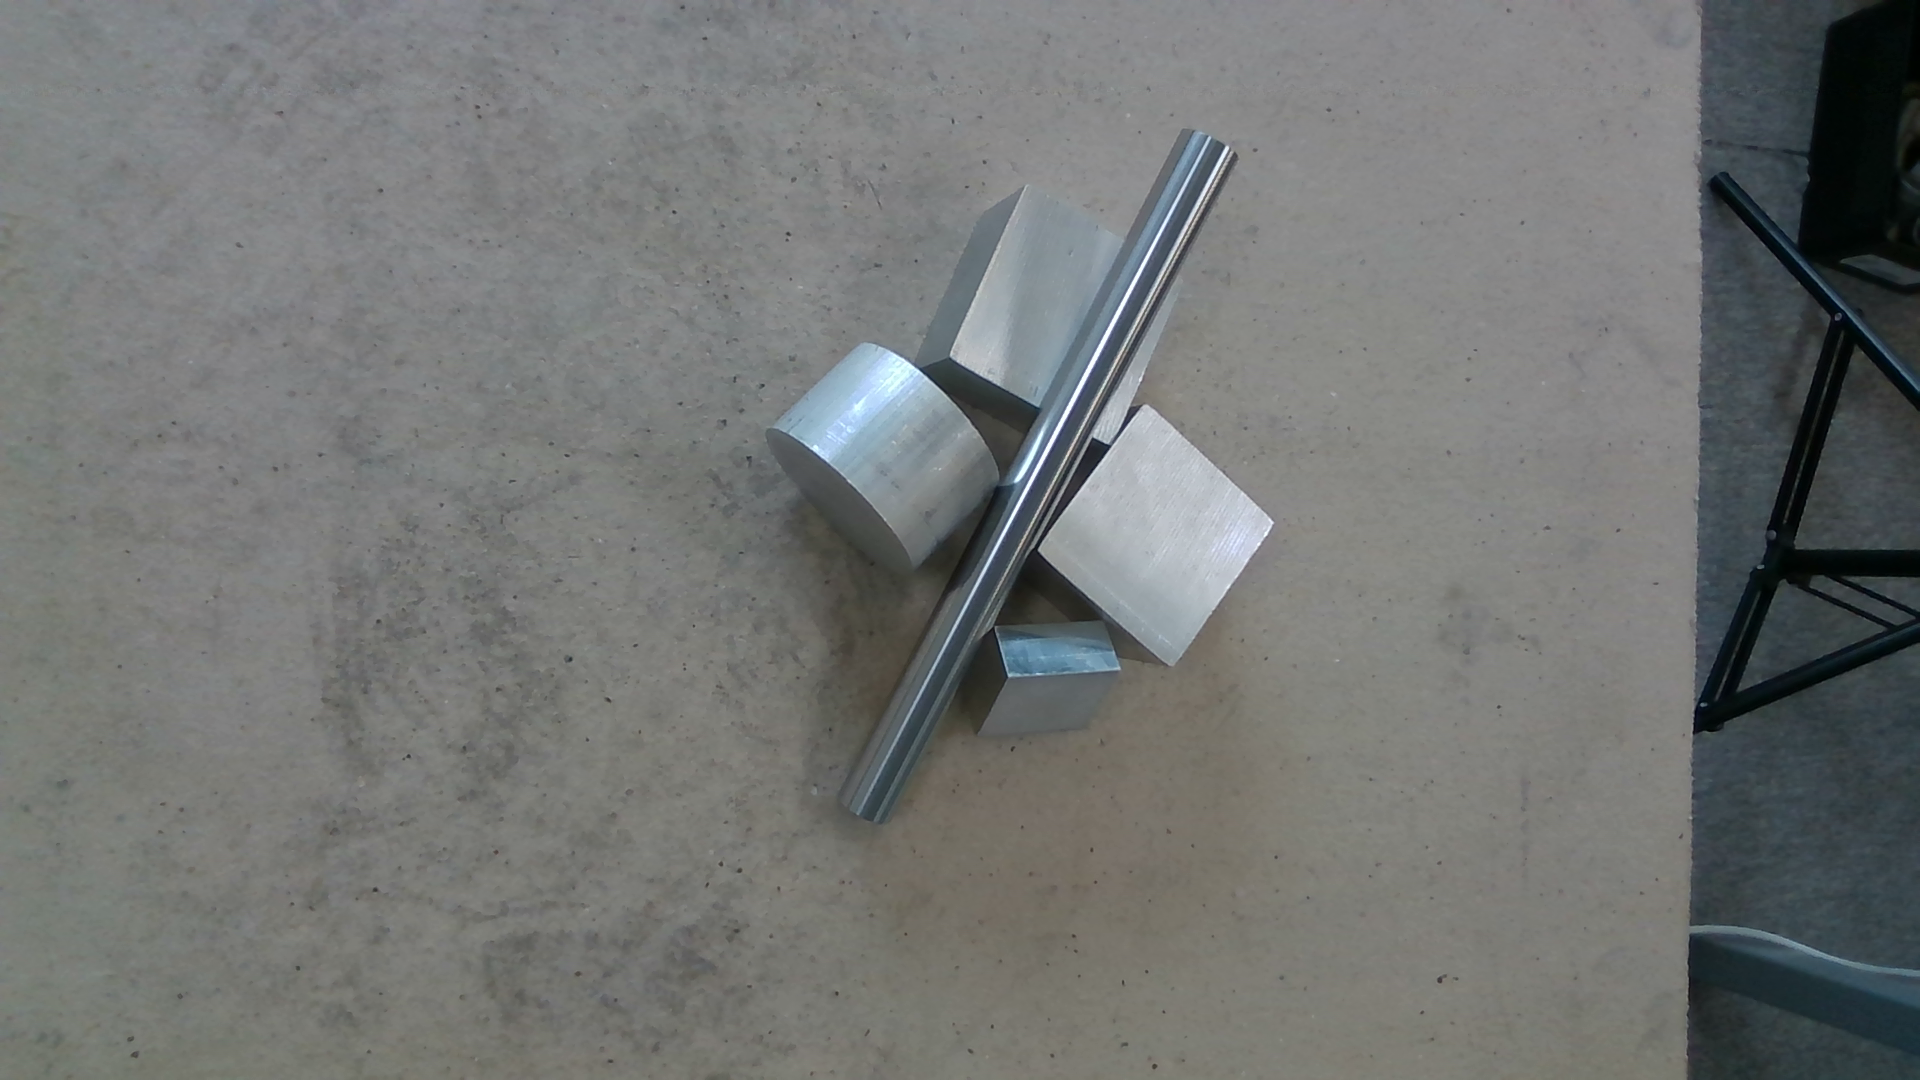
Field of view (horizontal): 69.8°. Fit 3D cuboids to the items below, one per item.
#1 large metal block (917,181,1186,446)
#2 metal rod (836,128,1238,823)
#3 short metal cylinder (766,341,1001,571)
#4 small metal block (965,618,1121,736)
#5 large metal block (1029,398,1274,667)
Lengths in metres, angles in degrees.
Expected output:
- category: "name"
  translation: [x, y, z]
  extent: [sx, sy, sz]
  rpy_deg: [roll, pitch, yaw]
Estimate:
- category: "large metal block"
  translation: [0.037, -0.092, 0.586]
  extent: [0.080, 0.050, 0.080]
  rpy_deg: [26, 81, -18]
- category: "metal rod"
  translation: [0.028, -0.021, 0.553]
  extent: [0.025, 0.025, 0.300]
  rpy_deg: [25, 98, -19]
- category: "short metal cylinder"
  translation: [-0.030, -0.032, 0.545]
  extent: [0.050, 0.080, 0.080]
  rpy_deg: [-46, 105, -14]
- category: "small metal block"
  translation: [0.034, 0.058, 0.583]
  extent: [0.050, 0.050, 0.025]
  rpy_deg: [-2, 55, -20]
- category: "large metal block"
  translation: [0.074, -0.003, 0.598]
  extent: [0.080, 0.050, 0.080]
  rpy_deg: [41, 77, -16]
